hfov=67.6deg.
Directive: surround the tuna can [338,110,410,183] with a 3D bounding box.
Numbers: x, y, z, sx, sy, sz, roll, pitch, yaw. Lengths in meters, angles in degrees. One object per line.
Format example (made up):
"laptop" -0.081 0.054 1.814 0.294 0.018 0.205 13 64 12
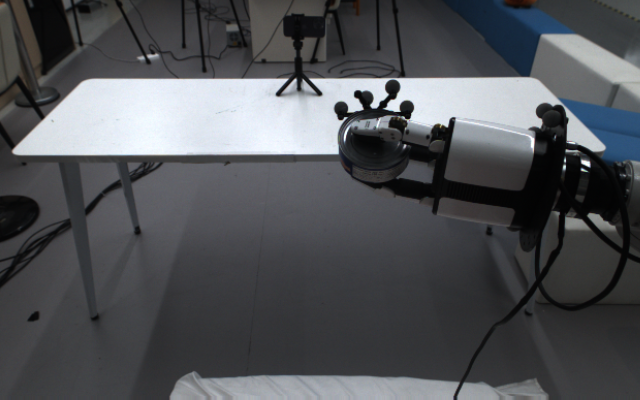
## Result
"tuna can" 0.064 -0.064 0.563 0.085 0.034 0.085 -2 58 2
